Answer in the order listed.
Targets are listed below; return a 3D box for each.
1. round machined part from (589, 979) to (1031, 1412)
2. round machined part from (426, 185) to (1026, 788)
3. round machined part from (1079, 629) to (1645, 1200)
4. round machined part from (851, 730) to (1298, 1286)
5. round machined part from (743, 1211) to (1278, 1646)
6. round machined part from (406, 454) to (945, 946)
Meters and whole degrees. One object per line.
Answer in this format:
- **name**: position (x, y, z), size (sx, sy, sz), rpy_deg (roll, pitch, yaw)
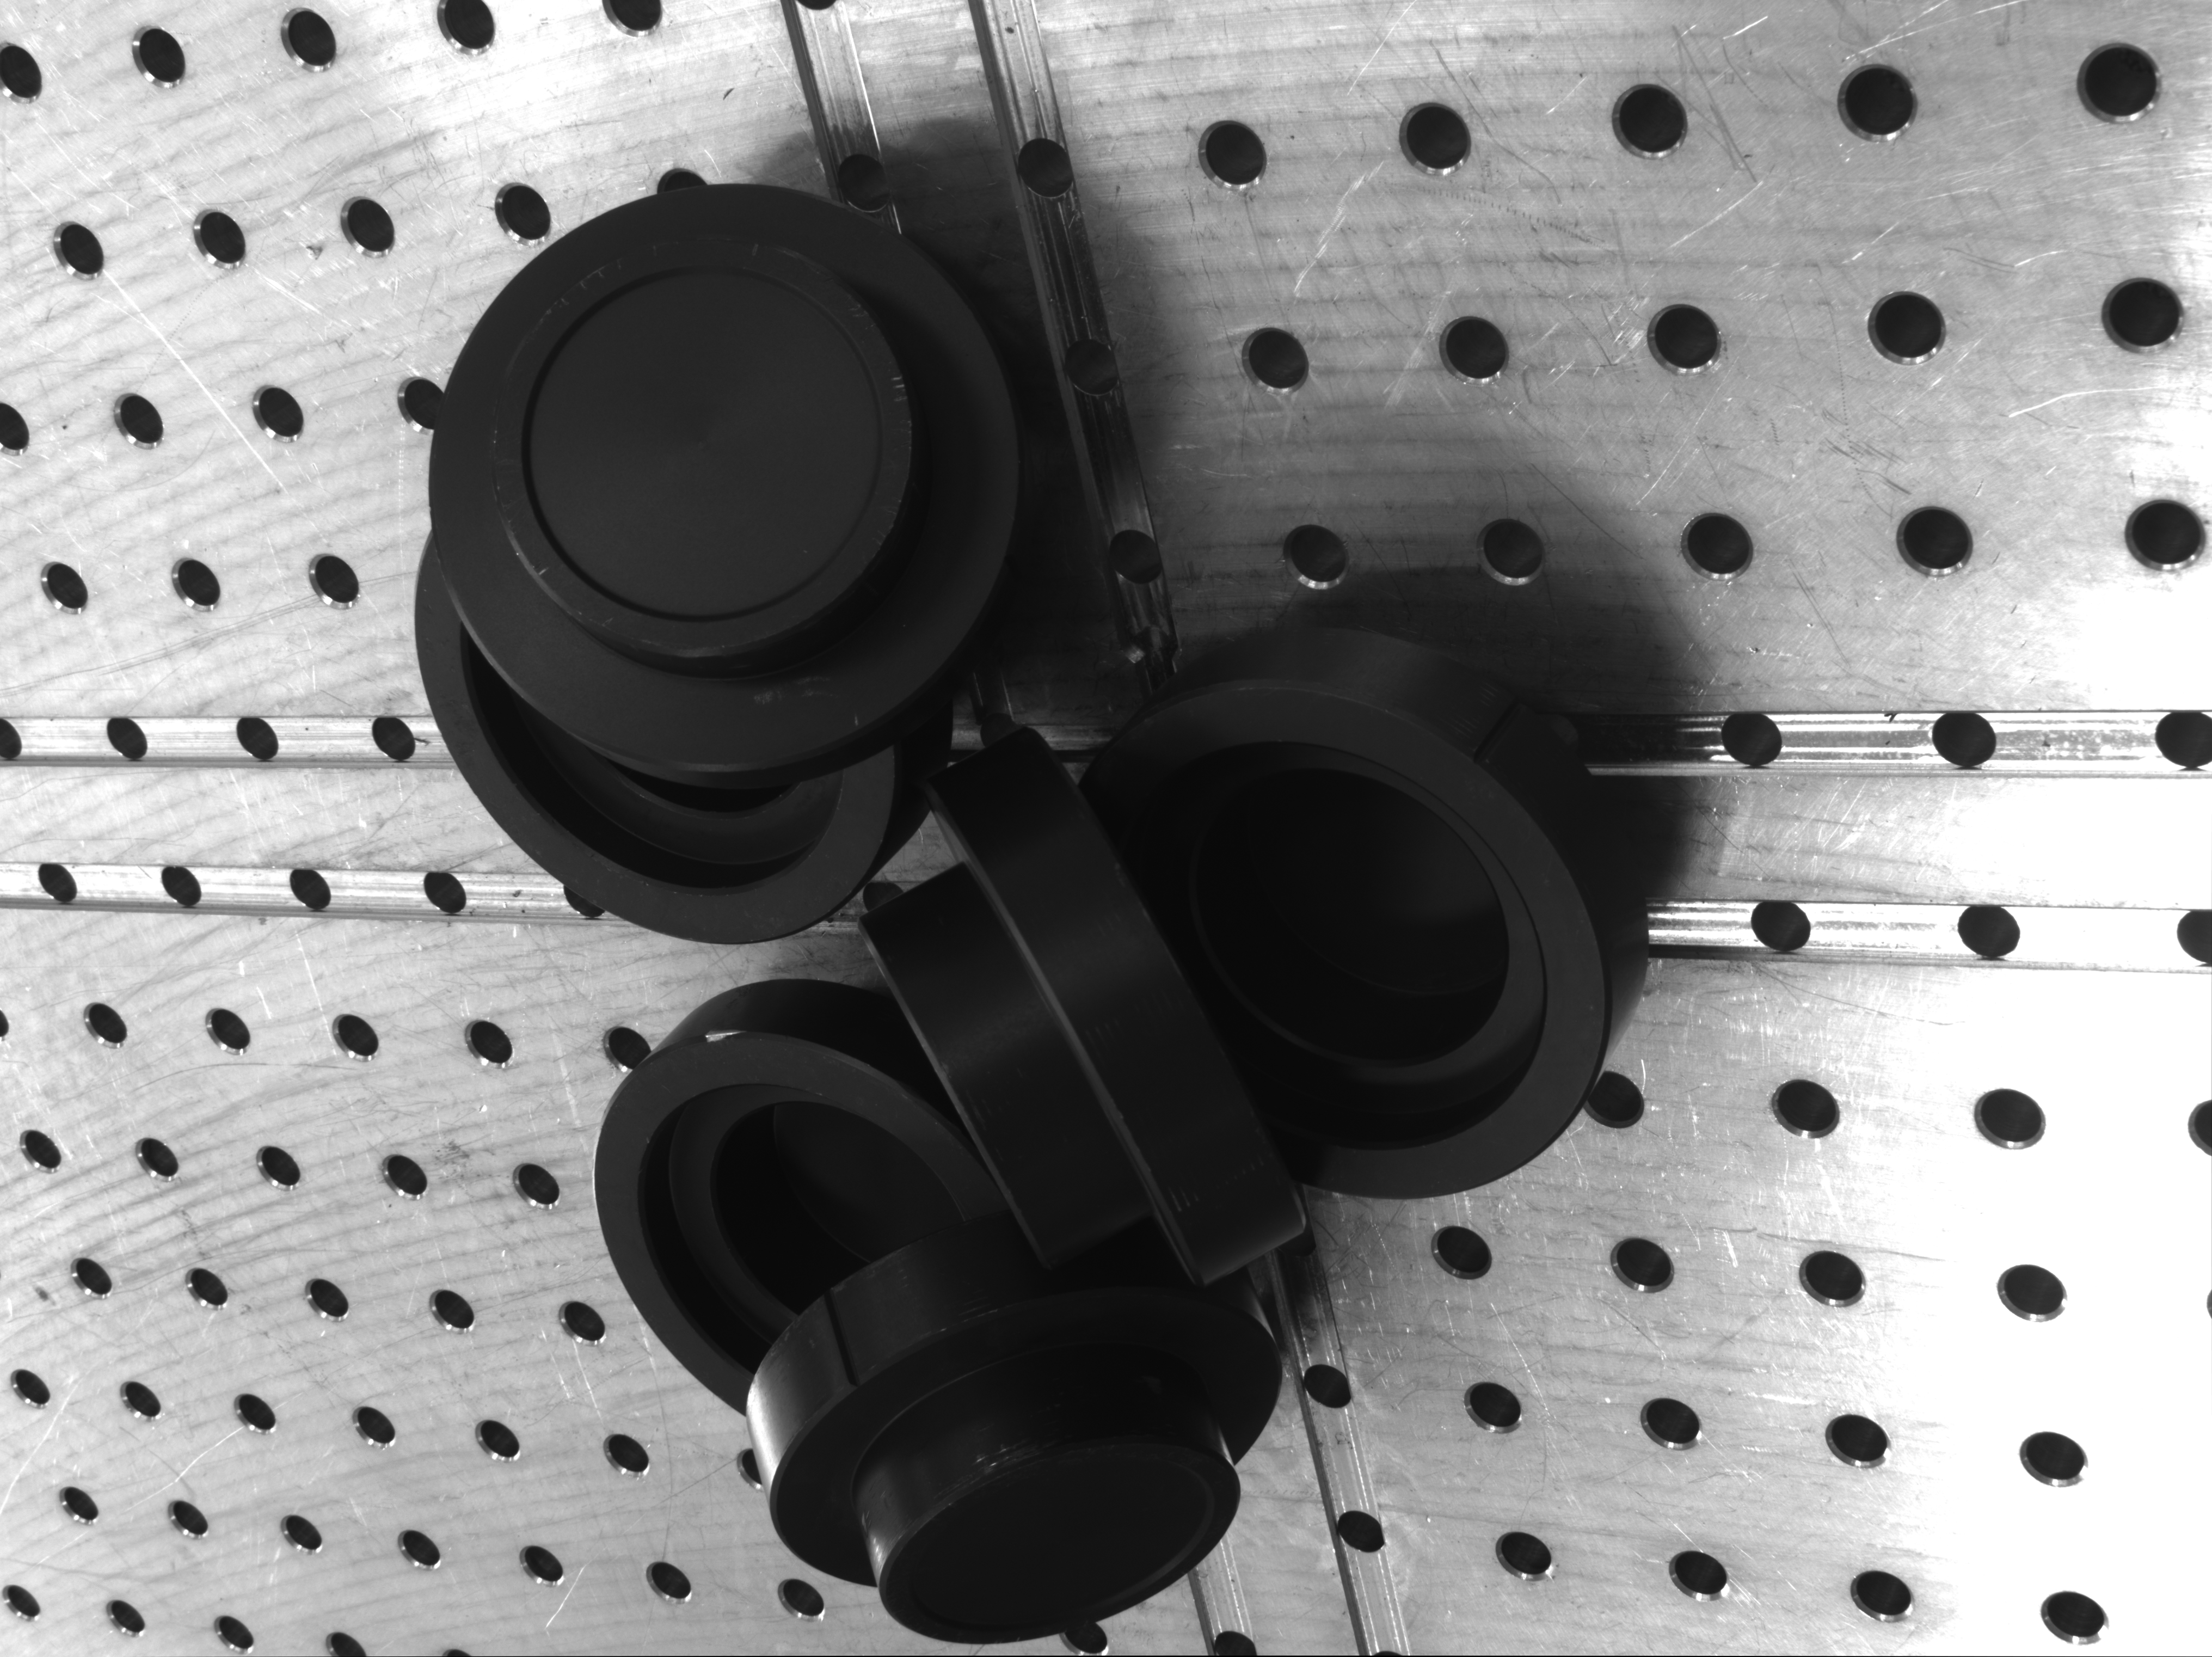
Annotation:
- **round machined part**: position (-0.046, 0.070, 0.703), size (0.098, 0.042, 0.098), rpy_deg (13, 124, 21)
- **round machined part**: position (-0.063, -0.058, 0.598), size (0.098, 0.042, 0.098), rpy_deg (0, 81, 3)
- **round machined part**: position (0.044, 0.010, 0.617), size (0.098, 0.042, 0.098), rpy_deg (13, 124, 21)
- **round machined part**: position (-0.009, 0.036, 0.623), size (0.042, 0.098, 0.098), rpy_deg (-28, 107, -6)
- **round machined part**: position (-0.014, 0.114, 0.676), size (0.098, 0.042, 0.098), rpy_deg (-13, 141, -11)
- **round machined part**: position (-0.072, -0.032, 0.653), size (0.098, 0.042, 0.098), rpy_deg (13, 124, 21)
